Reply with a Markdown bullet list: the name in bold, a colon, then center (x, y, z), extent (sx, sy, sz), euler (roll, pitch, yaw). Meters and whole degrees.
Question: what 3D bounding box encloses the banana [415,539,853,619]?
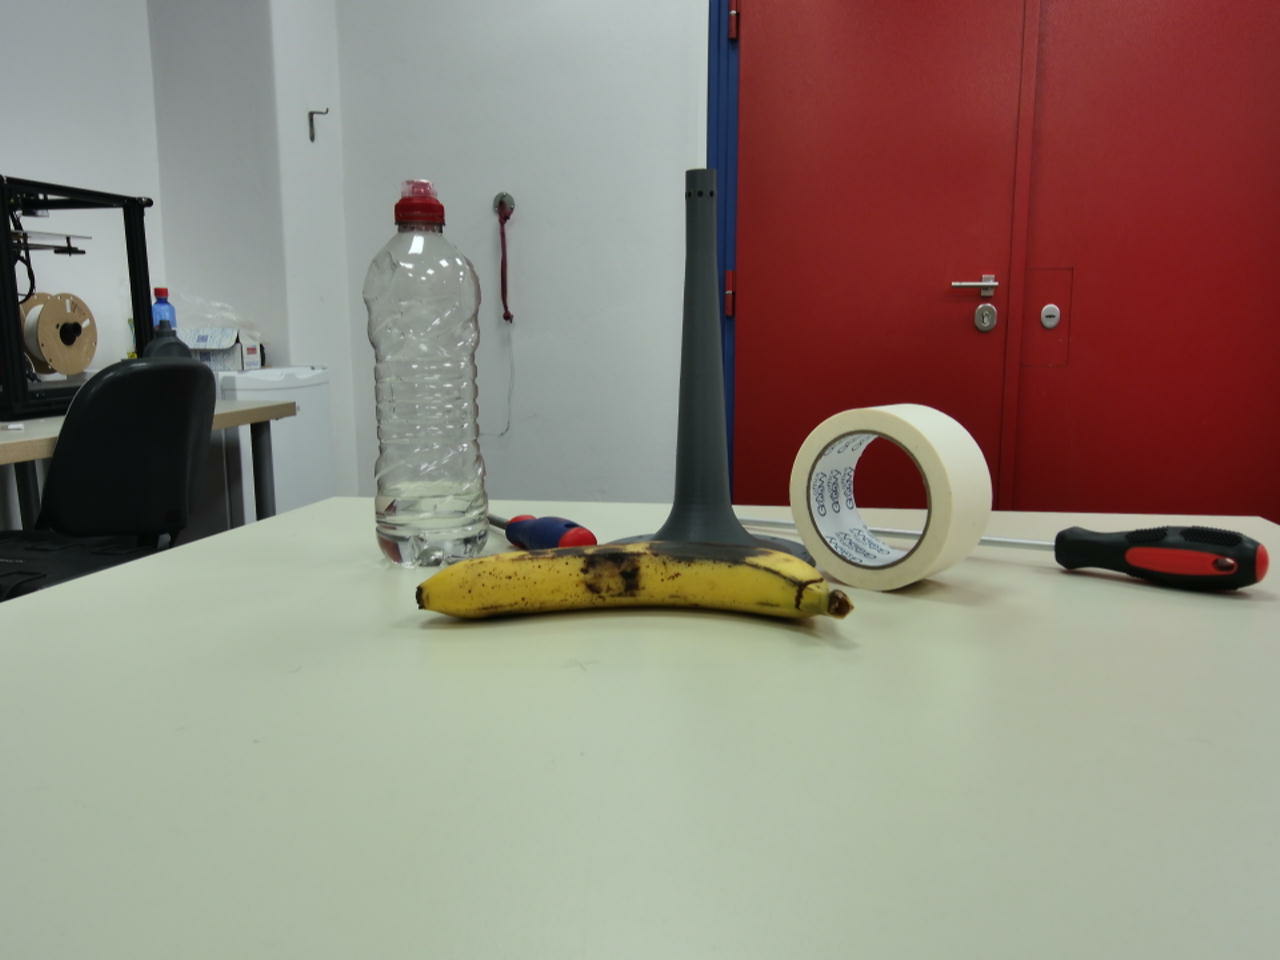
- **banana**: center (-0.001, 0.054, 0.529), extent (0.222, 0.037, 0.084), euler (1, 6, 12)
